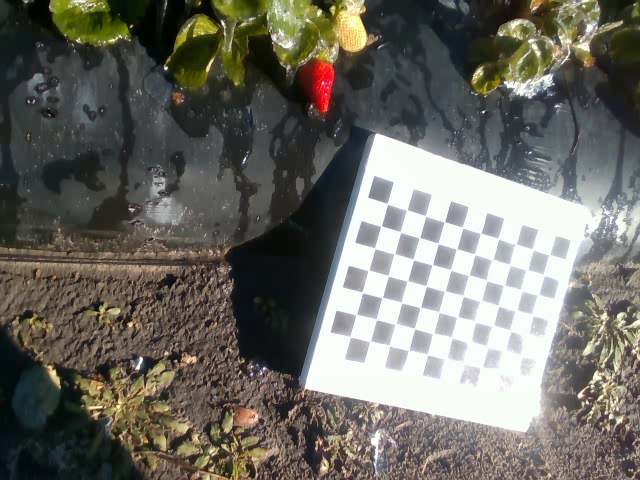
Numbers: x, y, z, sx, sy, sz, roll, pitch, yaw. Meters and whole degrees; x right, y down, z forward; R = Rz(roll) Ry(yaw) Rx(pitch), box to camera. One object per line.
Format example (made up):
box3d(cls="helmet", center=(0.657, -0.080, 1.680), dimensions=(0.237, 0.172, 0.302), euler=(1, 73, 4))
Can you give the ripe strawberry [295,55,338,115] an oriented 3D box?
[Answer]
box3d(cls="ripe strawberry", center=(0.004, -0.149, 0.631), dimensions=(0.041, 0.052, 0.040), euler=(-3, -1, -22))
